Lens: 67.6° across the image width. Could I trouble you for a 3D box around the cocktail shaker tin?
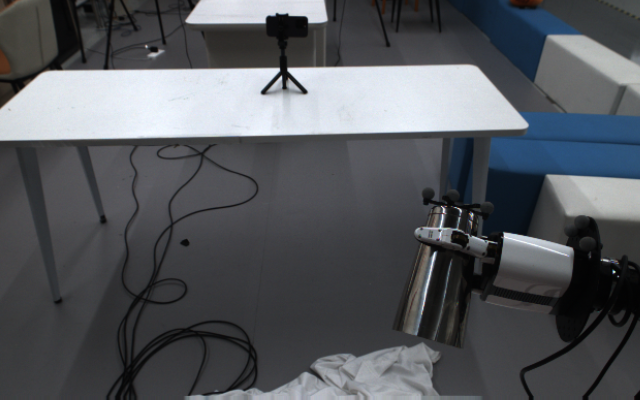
[{"bbox_3d":[0.163,0.095,0.638,0.093,0.093,0.170,13,77,15],"label":"cocktail shaker tin"}]
